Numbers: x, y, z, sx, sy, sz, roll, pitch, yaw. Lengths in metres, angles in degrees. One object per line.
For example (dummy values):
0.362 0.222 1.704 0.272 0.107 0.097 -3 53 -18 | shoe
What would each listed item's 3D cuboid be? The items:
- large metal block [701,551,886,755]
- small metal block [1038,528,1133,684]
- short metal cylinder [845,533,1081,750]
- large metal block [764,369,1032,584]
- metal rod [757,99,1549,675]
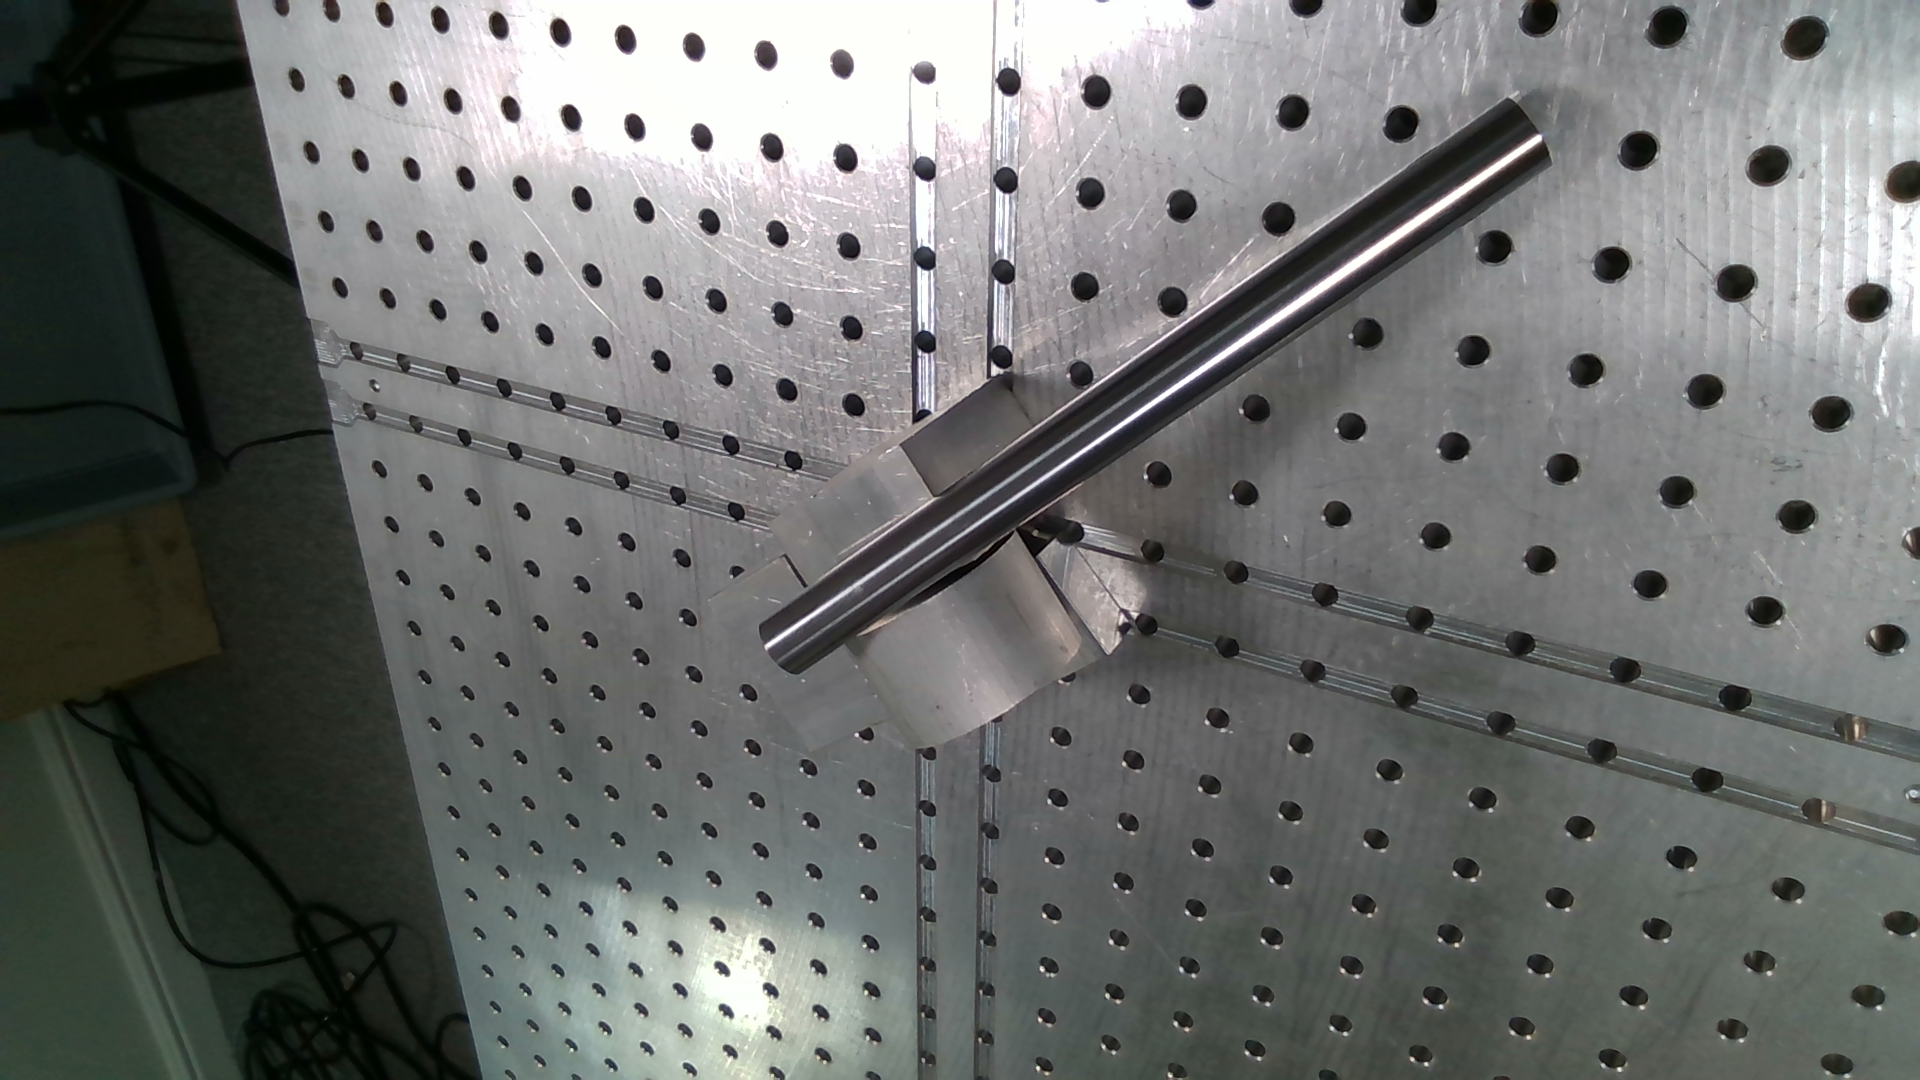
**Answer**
-0.050 0.032 0.593 0.050 0.080 0.080 -27 99 39 | large metal block
0.035 0.031 0.579 0.050 0.025 0.050 -32 96 39 | small metal block
0.000 0.037 0.535 0.080 0.080 0.050 -26 100 38 | short metal cylinder
-0.017 -0.016 0.550 0.080 0.080 0.050 -27 99 39 | large metal block
0.052 -0.042 0.461 0.300 0.025 0.025 -34 95 18 | metal rod
